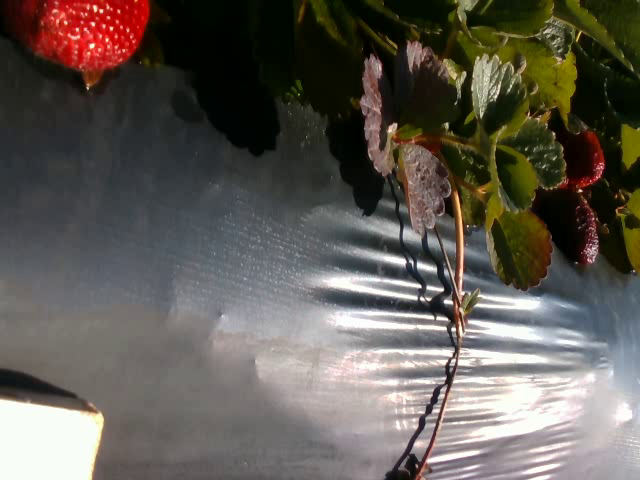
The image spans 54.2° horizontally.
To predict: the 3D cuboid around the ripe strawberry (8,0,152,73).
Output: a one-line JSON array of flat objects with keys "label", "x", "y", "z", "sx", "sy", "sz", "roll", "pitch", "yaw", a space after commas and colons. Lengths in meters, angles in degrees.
[{"label": "ripe strawberry", "x": -0.064, "y": -0.056, "z": 0.160, "sx": 0.043, "sy": 0.043, "sz": 0.050, "roll": -25, "pitch": 25, "yaw": 9}]
